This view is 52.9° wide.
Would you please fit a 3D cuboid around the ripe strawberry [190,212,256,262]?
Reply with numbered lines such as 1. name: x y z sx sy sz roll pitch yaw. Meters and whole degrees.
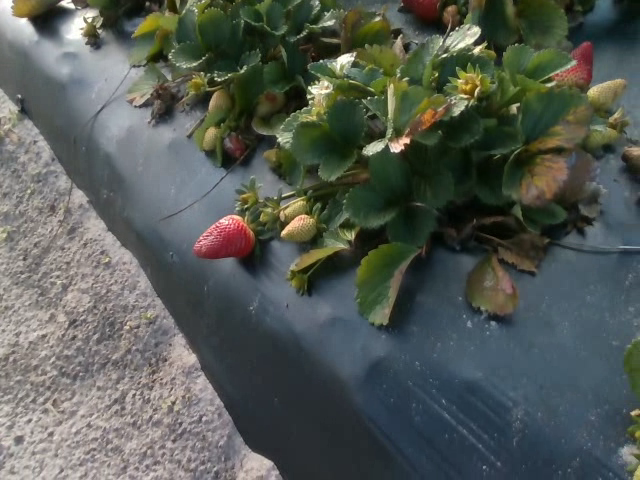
1. ripe strawberry: -0.107 -0.002 0.693 0.067 0.045 0.053 -30 51 -19
